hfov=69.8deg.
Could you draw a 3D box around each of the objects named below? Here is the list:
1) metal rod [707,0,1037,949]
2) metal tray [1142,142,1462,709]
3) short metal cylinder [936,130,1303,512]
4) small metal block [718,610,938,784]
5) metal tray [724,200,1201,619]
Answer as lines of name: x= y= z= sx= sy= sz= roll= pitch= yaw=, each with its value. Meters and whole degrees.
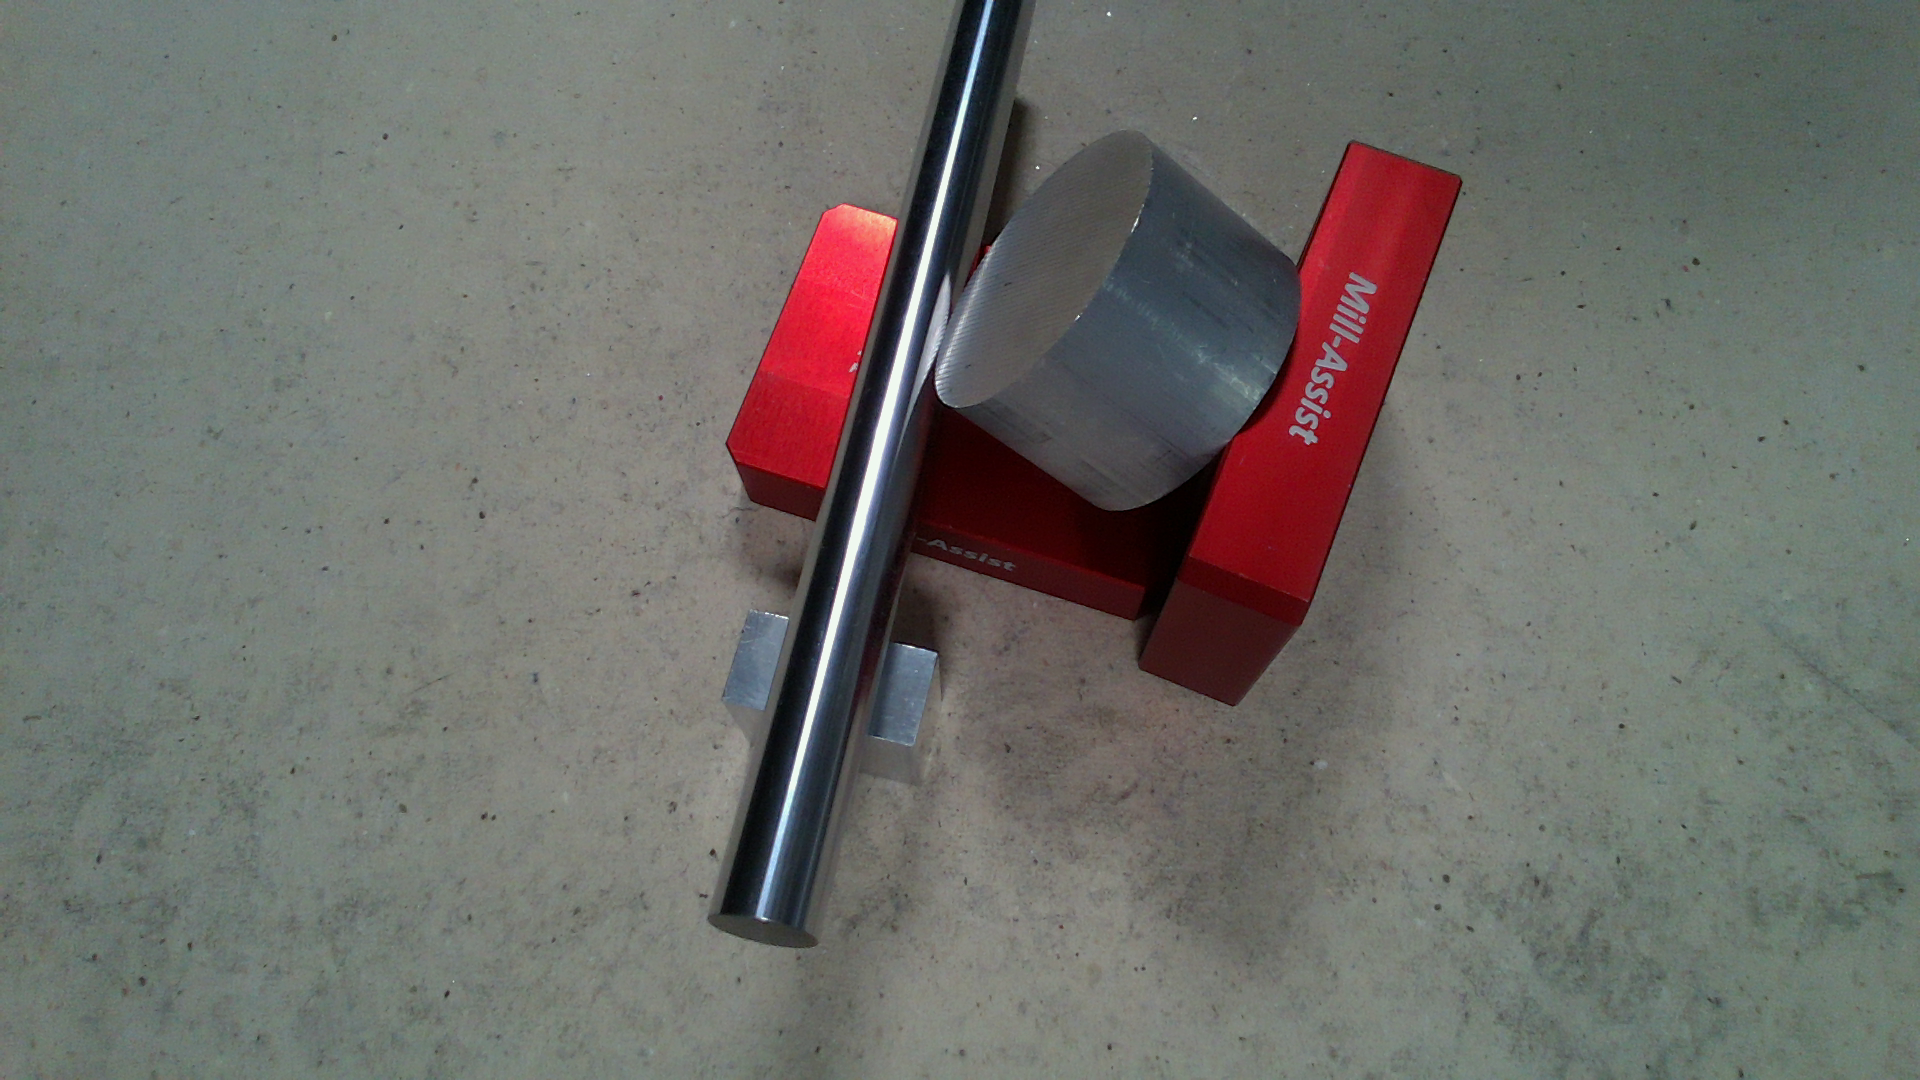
metal rod: x=-0.015 y=-0.044 z=0.369 sx=0.025 sy=0.025 sz=0.300 roll=10 pitch=61 yaw=4
metal tray: x=0.090 y=-0.028 z=0.370 sx=0.030 sy=0.090 sz=0.130 roll=21 pitch=71 yaw=8
short metal cylinder: x=0.038 y=-0.054 z=0.346 sx=0.050 sy=0.080 sz=0.080 roll=33 pitch=70 yaw=-23
small metal block: x=-0.032 y=0.043 z=0.365 sx=0.050 sy=0.050 sz=0.025 roll=12 pitch=70 yaw=4
metal tray: x=0.008 y=-0.040 z=0.406 sx=0.130 sy=0.030 sz=0.090 roll=17 pitch=71 yaw=6
